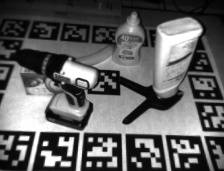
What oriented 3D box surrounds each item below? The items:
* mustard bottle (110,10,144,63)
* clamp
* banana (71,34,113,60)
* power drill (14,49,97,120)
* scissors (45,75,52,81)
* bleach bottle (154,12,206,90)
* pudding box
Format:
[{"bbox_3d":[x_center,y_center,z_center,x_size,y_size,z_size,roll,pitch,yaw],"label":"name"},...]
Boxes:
[{"bbox_3d":[0.050,-0.156,0.689,0.096,0.192,0.058,13,54,2],"label":"mustard bottle"},{"bbox_3d":[0.121,0.007,0.655,0.204,0.037,0.164,-3,58,-11],"label":"clamp"},{"bbox_3d":[-0.063,-0.133,0.739,0.199,0.039,0.073,-33,48,-26],"label":"banana"},{"bbox_3d":[-0.126,0.001,0.517,0.184,0.188,0.057,11,48,5],"label":"power drill"},{"bbox_3d":[-0.196,-0.068,0.573,0.202,0.016,0.088,25,60,4],"label":"scissors"},{"bbox_3d":[0.164,-0.066,0.582,0.103,0.252,0.067,-18,54,-9],"label":"bleach bottle"},{"bbox_3d":[-0.192,-0.025,0.622,0.114,0.090,0.038,5,48,-4],"label":"pudding box"}]
